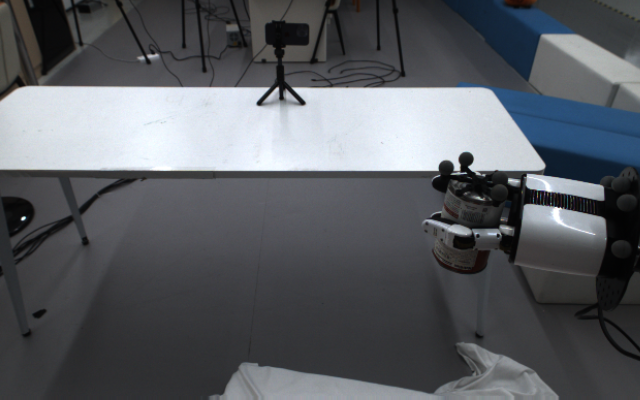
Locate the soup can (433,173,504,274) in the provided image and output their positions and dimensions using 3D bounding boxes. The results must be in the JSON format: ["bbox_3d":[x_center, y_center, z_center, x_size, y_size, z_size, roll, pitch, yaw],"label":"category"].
[{"bbox_3d":[0.179,0.027,0.581,0.067,0.101,0.067,3,30,-2],"label":"soup can"}]
